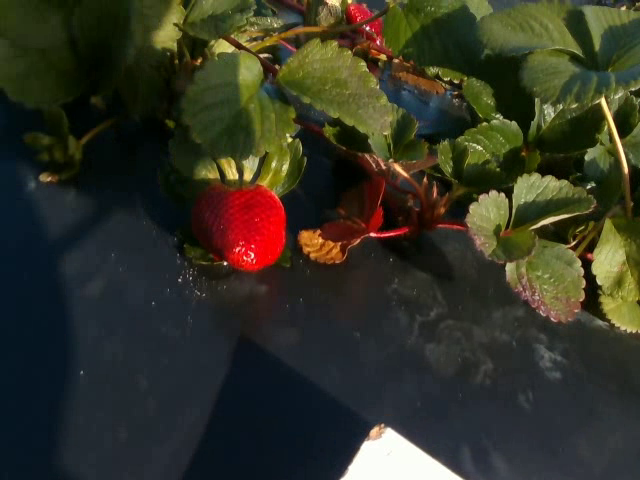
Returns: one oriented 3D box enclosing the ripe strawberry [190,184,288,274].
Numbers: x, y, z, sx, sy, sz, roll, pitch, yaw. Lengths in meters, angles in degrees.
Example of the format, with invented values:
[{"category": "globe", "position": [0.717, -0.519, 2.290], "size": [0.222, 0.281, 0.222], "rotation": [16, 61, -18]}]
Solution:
[{"category": "ripe strawberry", "position": [-0.031, -0.004, 0.227], "size": [0.040, 0.041, 0.056], "rotation": [-17, 25, -2]}]
